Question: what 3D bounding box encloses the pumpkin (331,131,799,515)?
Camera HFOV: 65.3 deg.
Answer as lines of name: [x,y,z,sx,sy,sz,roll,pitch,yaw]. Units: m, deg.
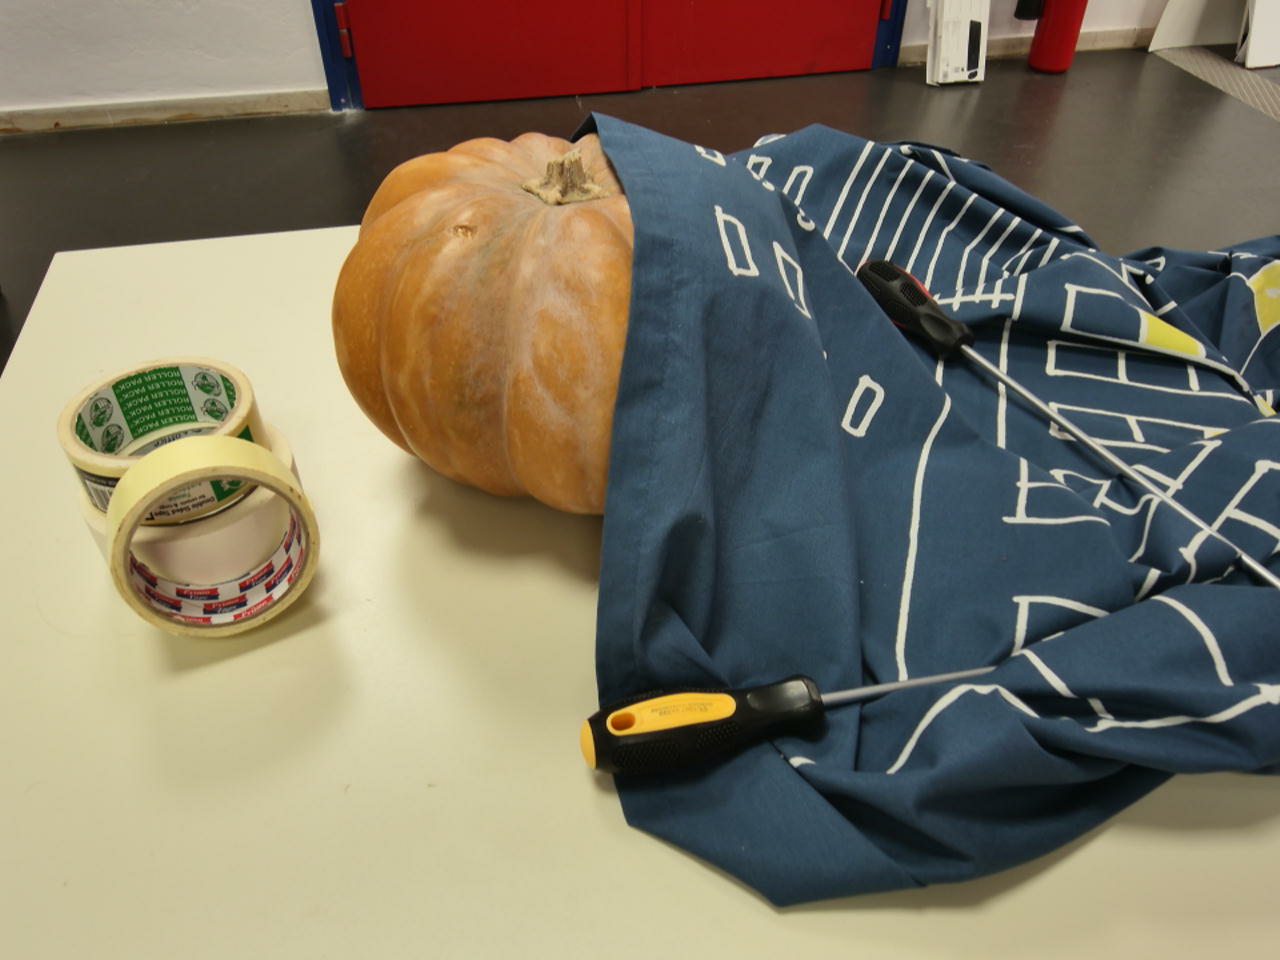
pumpkin: [-0.039,-0.097,0.575,0.277,0.181,0.277,0,39,0]
